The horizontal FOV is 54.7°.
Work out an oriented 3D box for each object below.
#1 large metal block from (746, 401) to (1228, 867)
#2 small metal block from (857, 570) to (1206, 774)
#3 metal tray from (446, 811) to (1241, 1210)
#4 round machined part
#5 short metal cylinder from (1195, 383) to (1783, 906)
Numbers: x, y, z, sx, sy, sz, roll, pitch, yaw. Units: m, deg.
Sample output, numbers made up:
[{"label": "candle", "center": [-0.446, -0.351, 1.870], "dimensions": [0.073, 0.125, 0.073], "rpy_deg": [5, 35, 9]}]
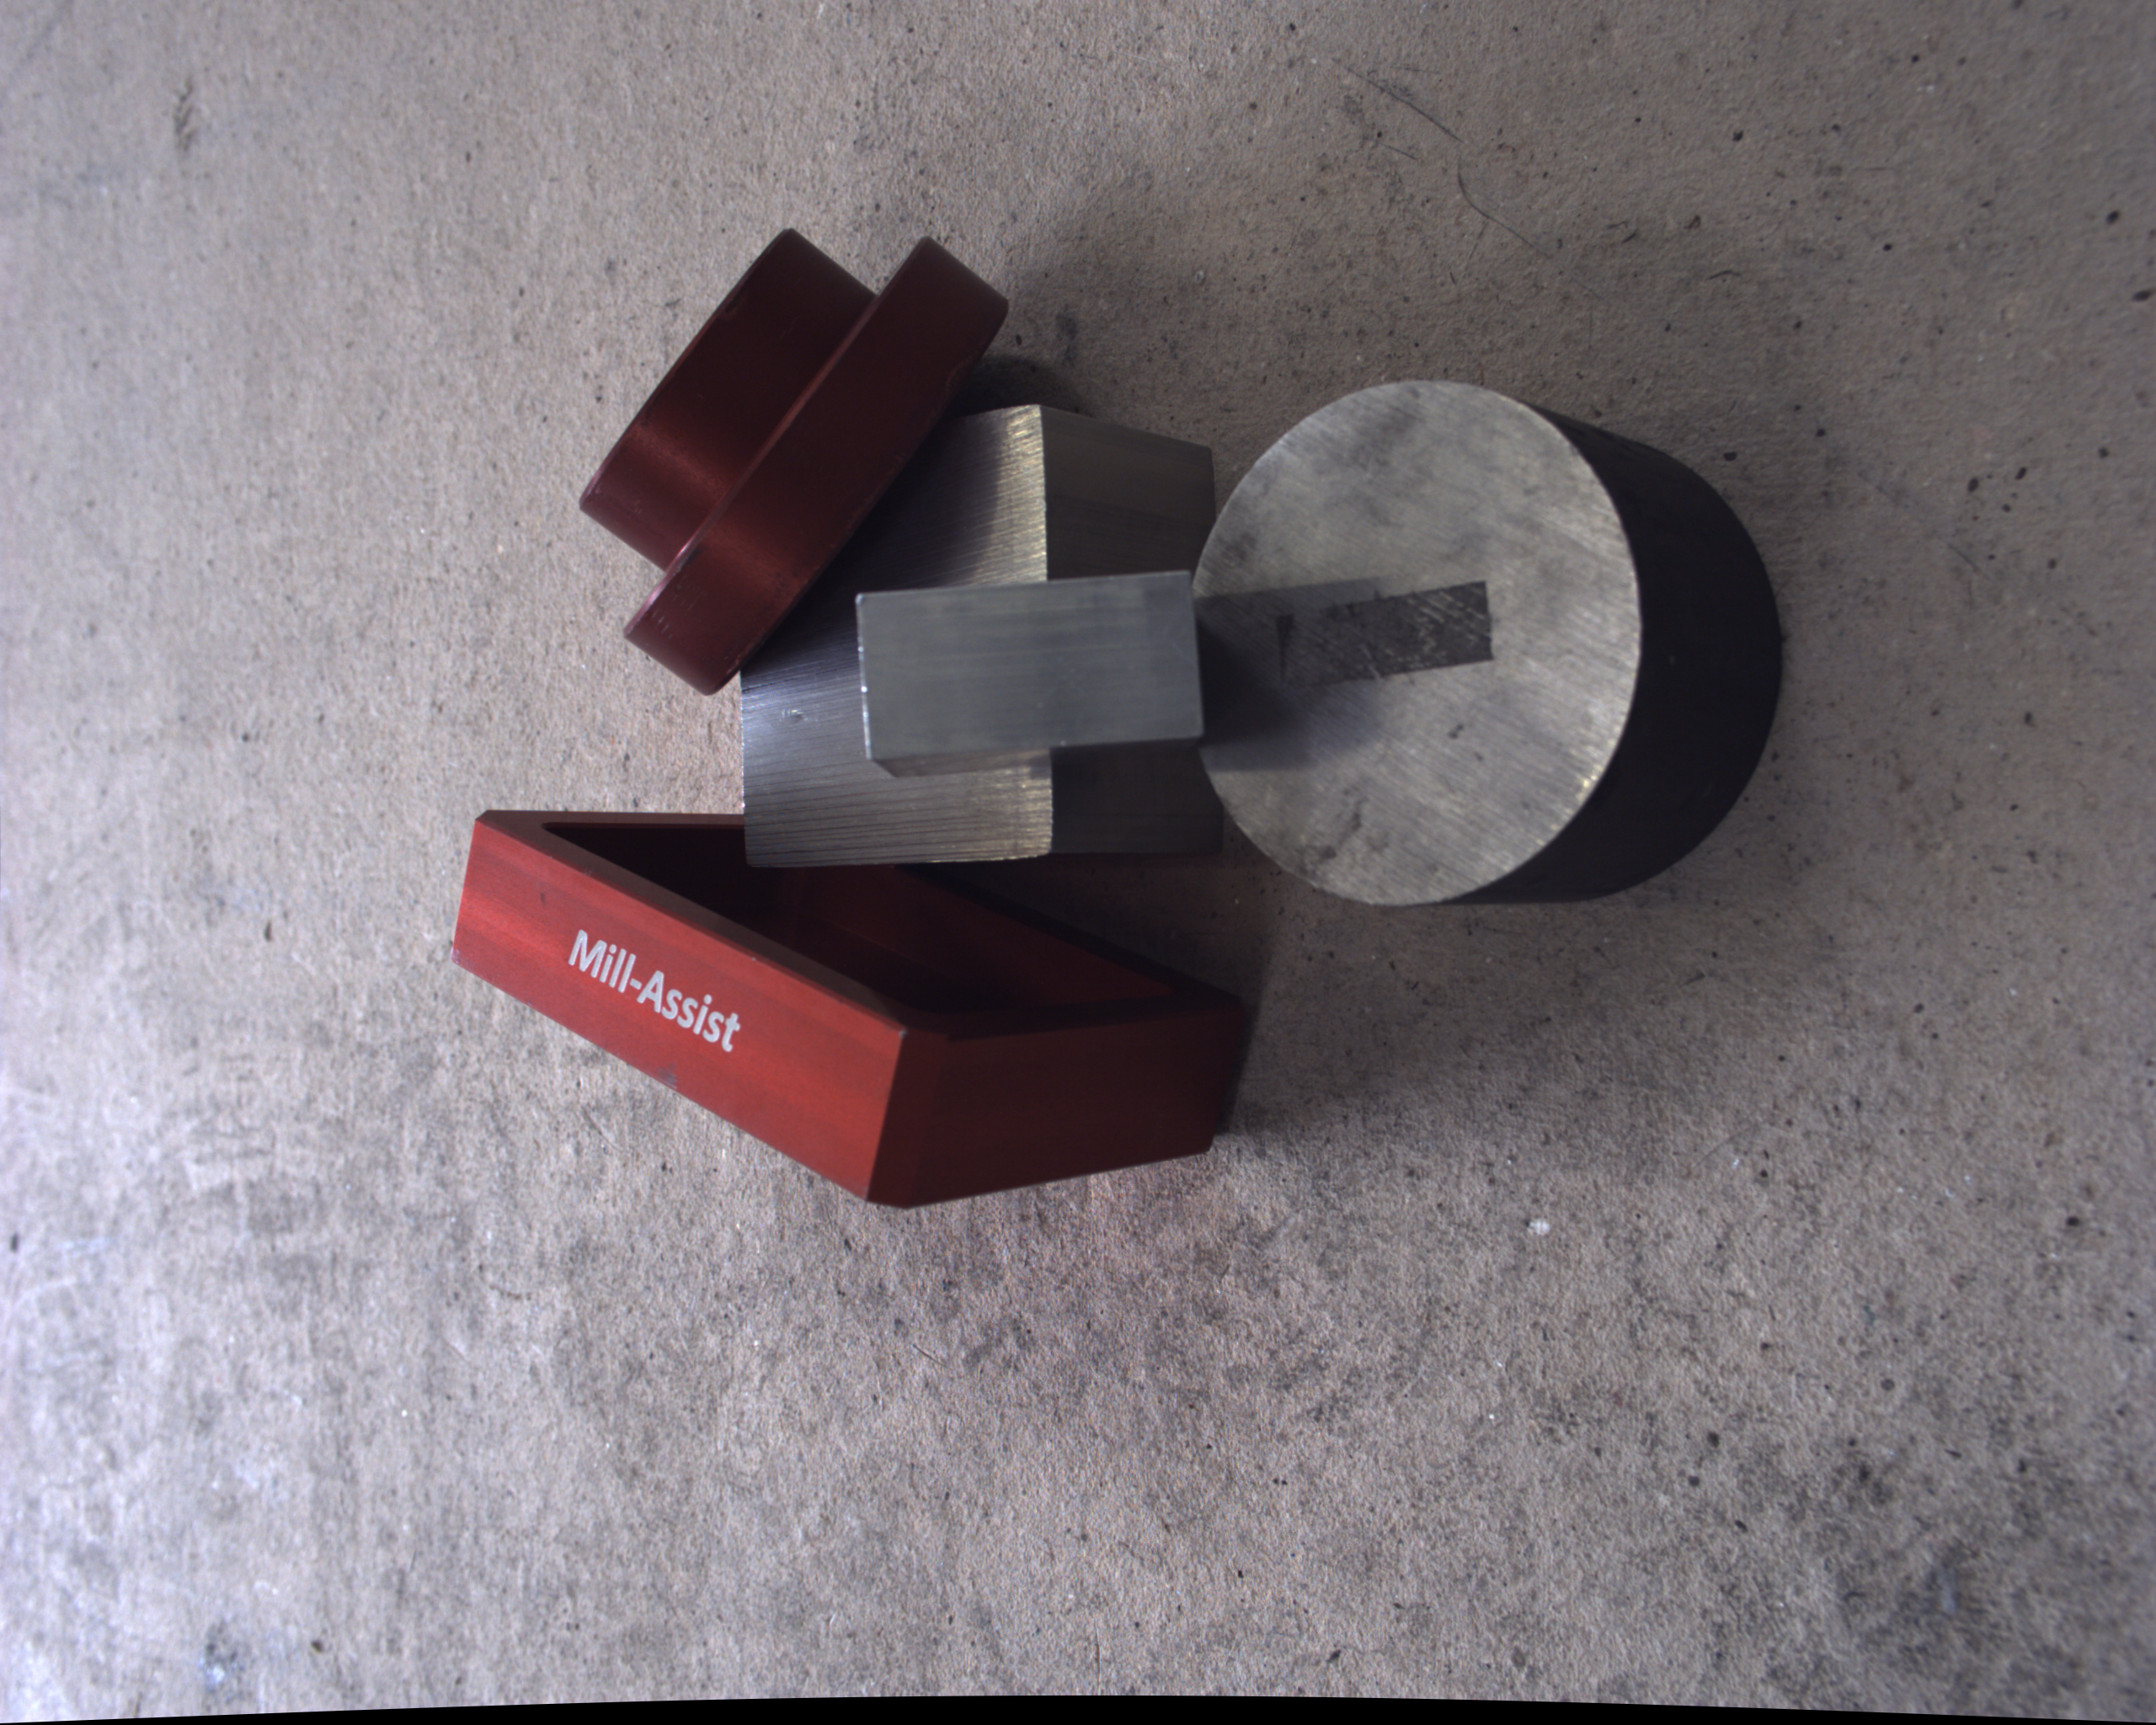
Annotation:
[{"label": "large metal block", "center": [-0.019, -0.040, 0.407], "dimensions": [0.080, 0.050, 0.080], "rpy_deg": [-2, 89, 40]}, {"label": "small metal block", "center": [-0.007, -0.029, 0.337], "dimensions": [0.050, 0.050, 0.025], "rpy_deg": [-5, 89, -2]}, {"label": "metal tray", "center": [-0.046, 0.022, 0.402], "dimensions": [0.130, 0.091, 0.030], "rpy_deg": [22, 104, 38]}, {"label": "round machined part", "center": [-0.060, -0.084, 0.408], "dimensions": [0.042, 0.098, 0.098], "rpy_deg": [37, 122, -15]}, {"label": "short metal cylinder", "center": [0.065, -0.033, 0.338], "dimensions": [0.080, 0.050, 0.080], "rpy_deg": [0, 90, 40]}]
